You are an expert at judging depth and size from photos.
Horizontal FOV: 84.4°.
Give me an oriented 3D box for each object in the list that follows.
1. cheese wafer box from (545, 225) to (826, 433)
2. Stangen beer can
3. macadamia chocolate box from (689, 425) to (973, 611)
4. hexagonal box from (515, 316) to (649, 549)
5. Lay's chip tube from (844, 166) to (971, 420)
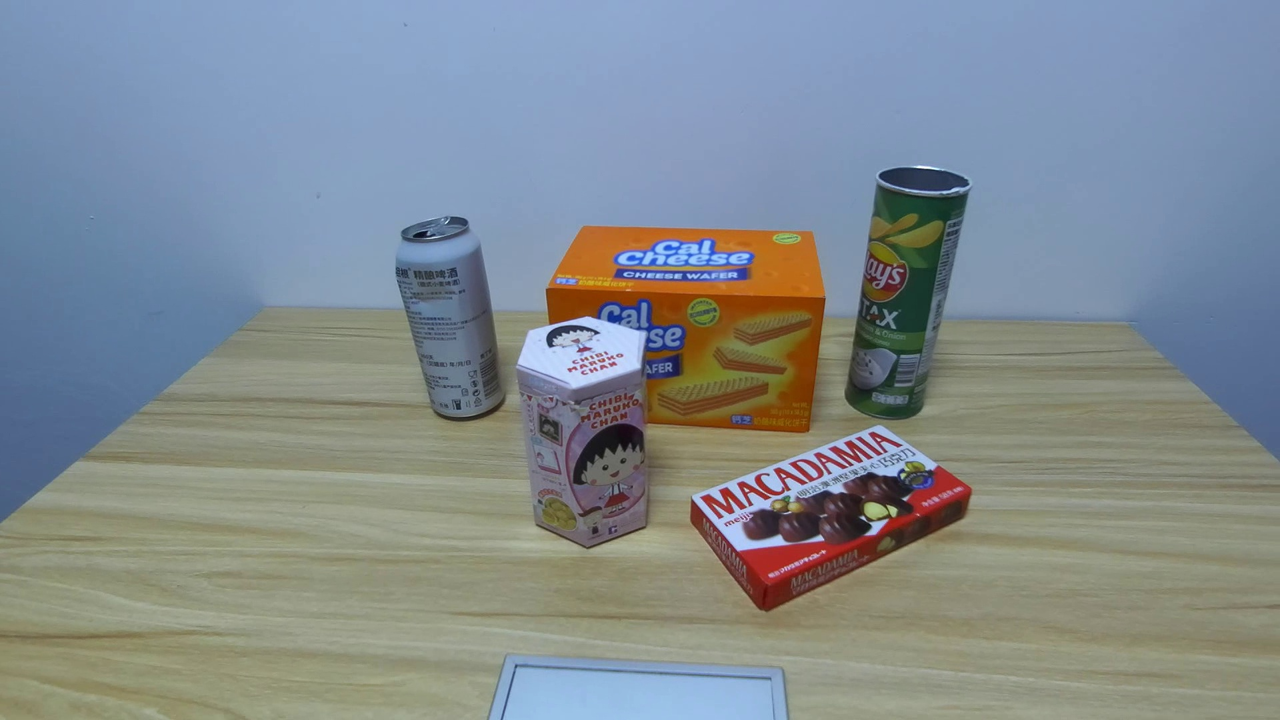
[{"bbox_3d":[0.044,-0.034,0.632,0.221,0.129,0.148,3,32,6],"label":"cheese wafer box"},{"bbox_3d":[-0.161,-0.036,0.606,0.070,0.173,0.069,-7,29,-8],"label":"Stangen beer can"},{"bbox_3d":[0.134,0.103,0.498,0.178,0.027,0.095,-16,33,-22],"label":"macadamia chocolate box"},{"bbox_3d":[-0.034,0.050,0.485,0.091,0.136,0.083,-16,34,-23],"label":"hexagonal box"},{"bbox_3d":[0.217,-0.052,0.583,0.071,0.203,0.071,-2,31,1],"label":"Lay's chip tube"}]
